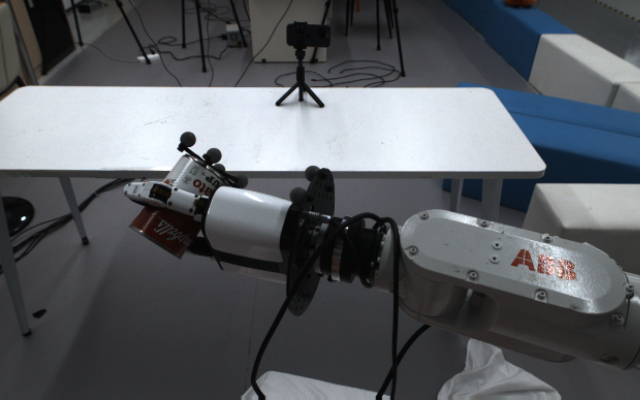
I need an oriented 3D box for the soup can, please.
[{"bbox_3d":[-0.157,0.008,0.550,0.067,0.067,0.101,24,73,28],"label":"soup can"}]
